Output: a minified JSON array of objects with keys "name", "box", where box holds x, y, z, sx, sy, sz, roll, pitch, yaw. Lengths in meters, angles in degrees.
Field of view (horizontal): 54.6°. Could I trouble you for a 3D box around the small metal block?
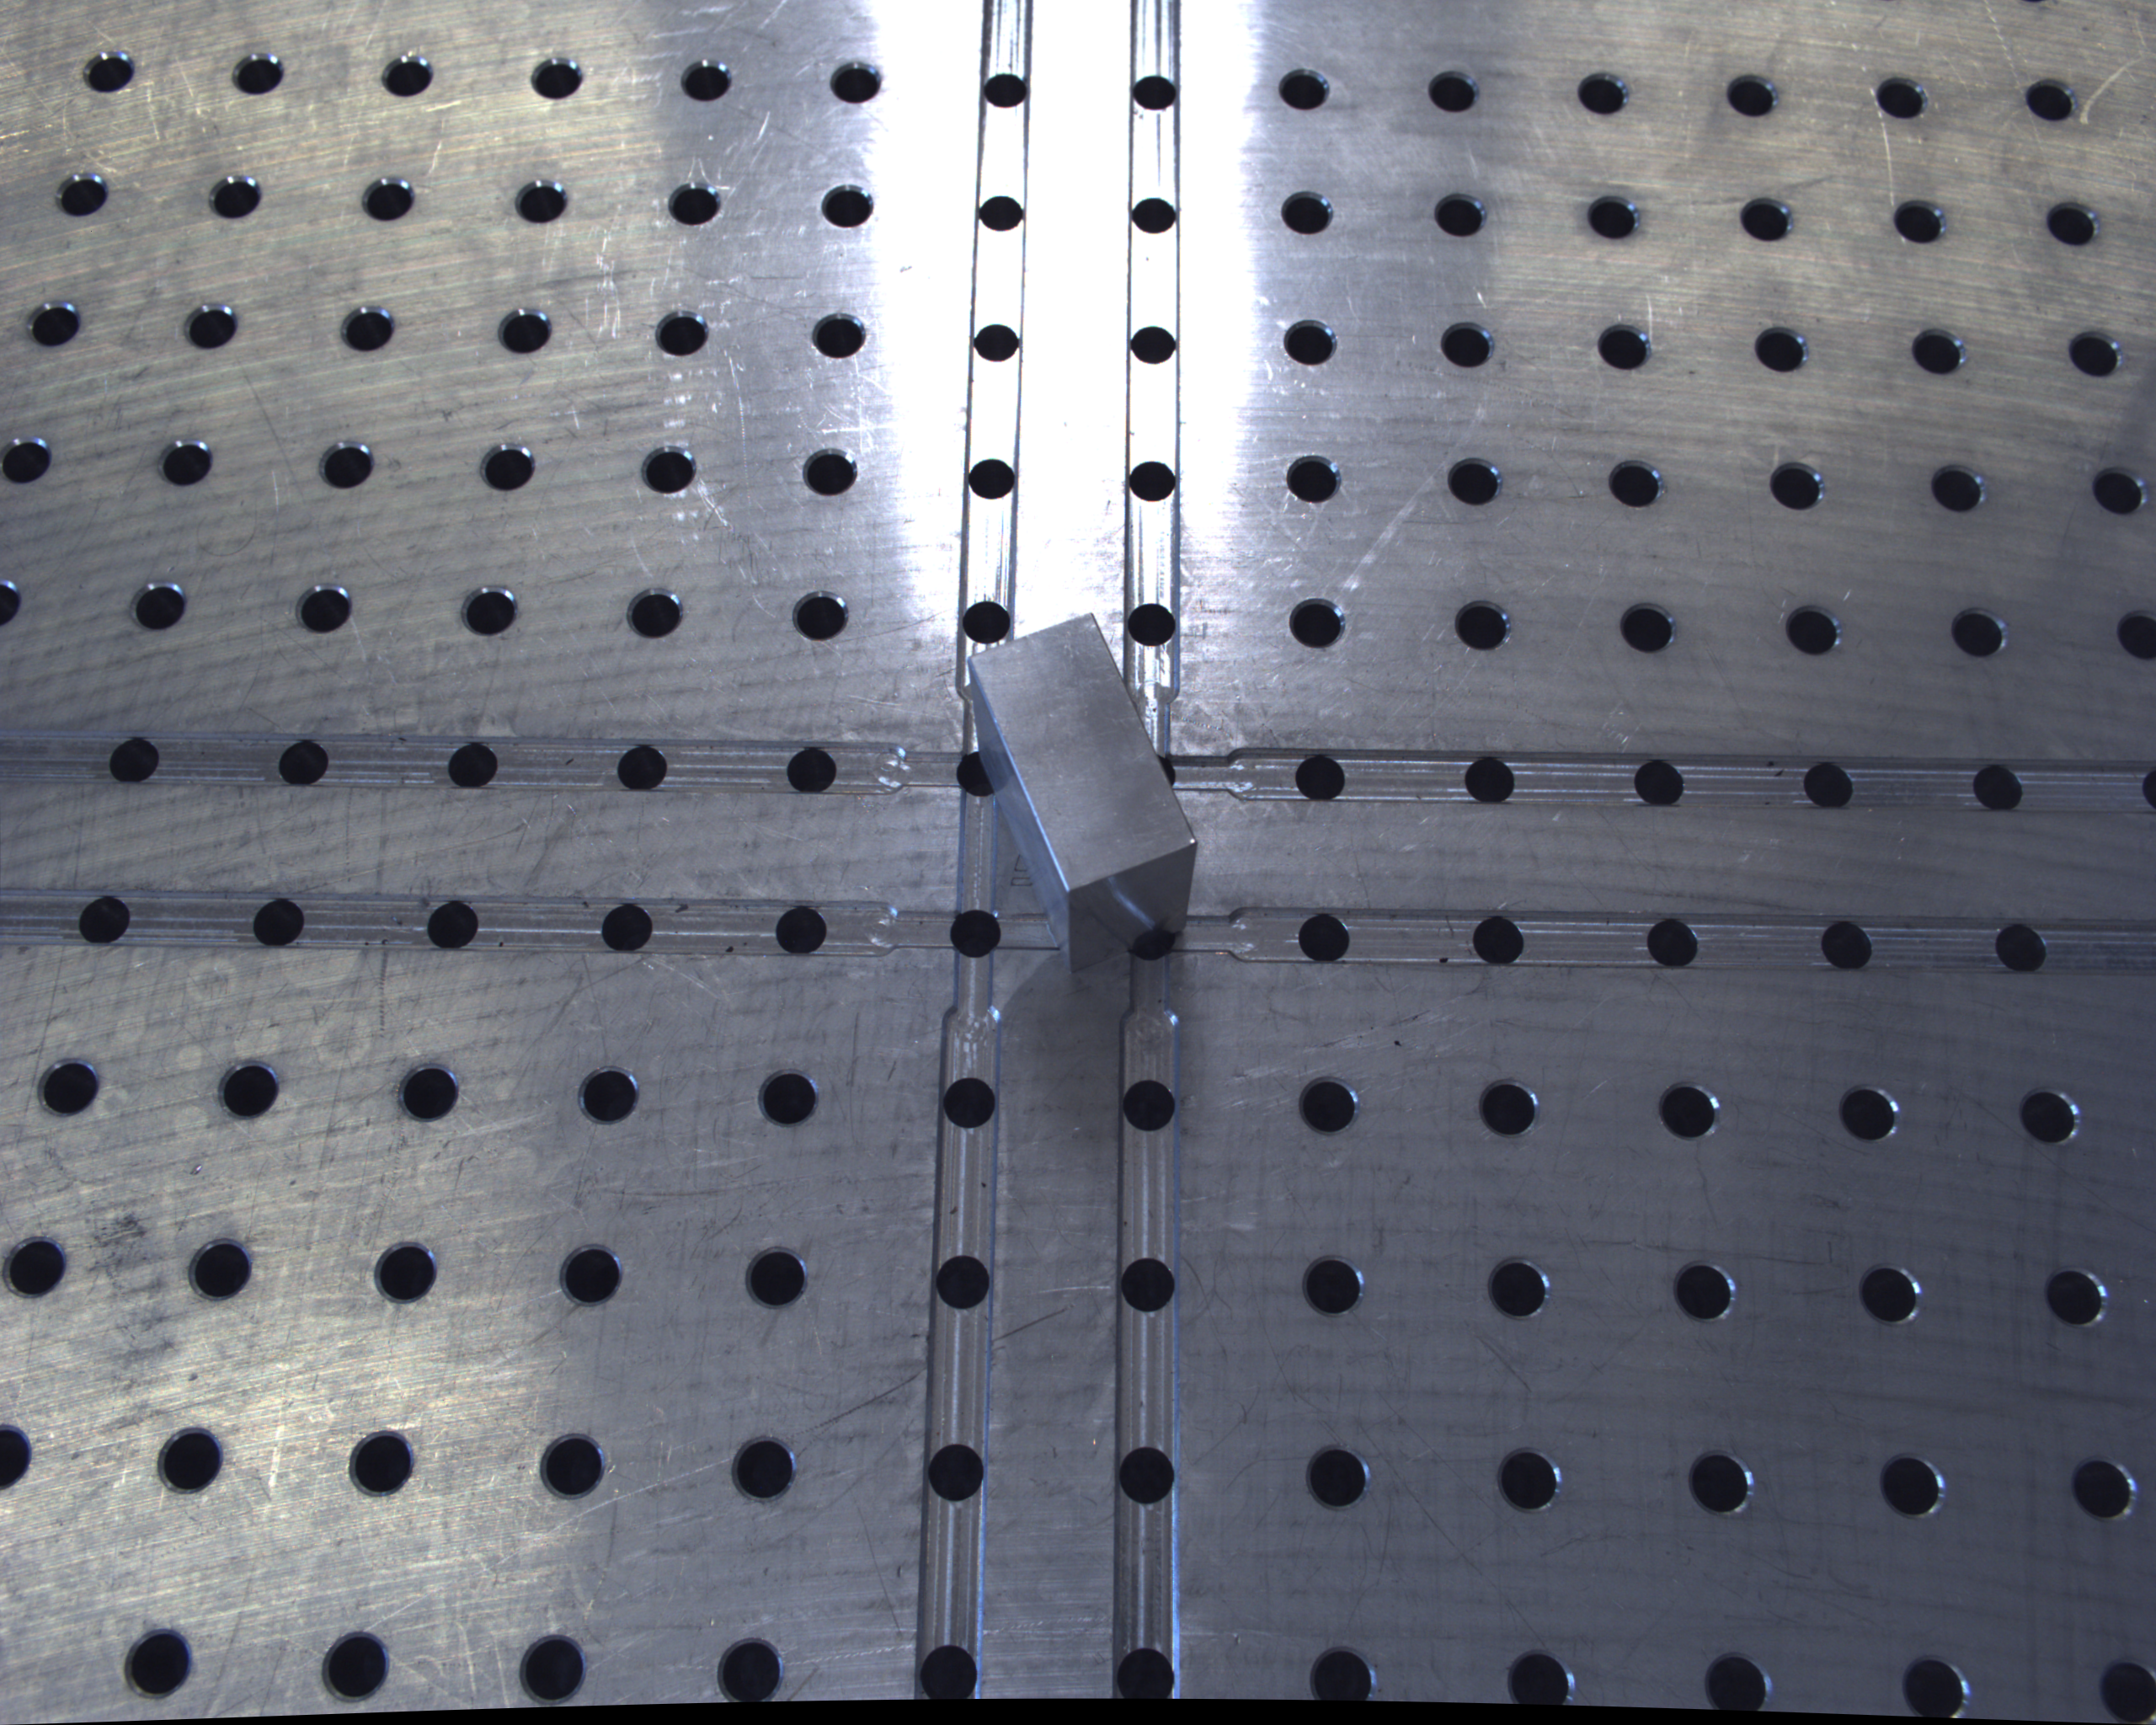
[{"name":"small metal block","box":[0.001,-0.012,0.403,0.025,0.050,0.050,-21,72,-7]}]
